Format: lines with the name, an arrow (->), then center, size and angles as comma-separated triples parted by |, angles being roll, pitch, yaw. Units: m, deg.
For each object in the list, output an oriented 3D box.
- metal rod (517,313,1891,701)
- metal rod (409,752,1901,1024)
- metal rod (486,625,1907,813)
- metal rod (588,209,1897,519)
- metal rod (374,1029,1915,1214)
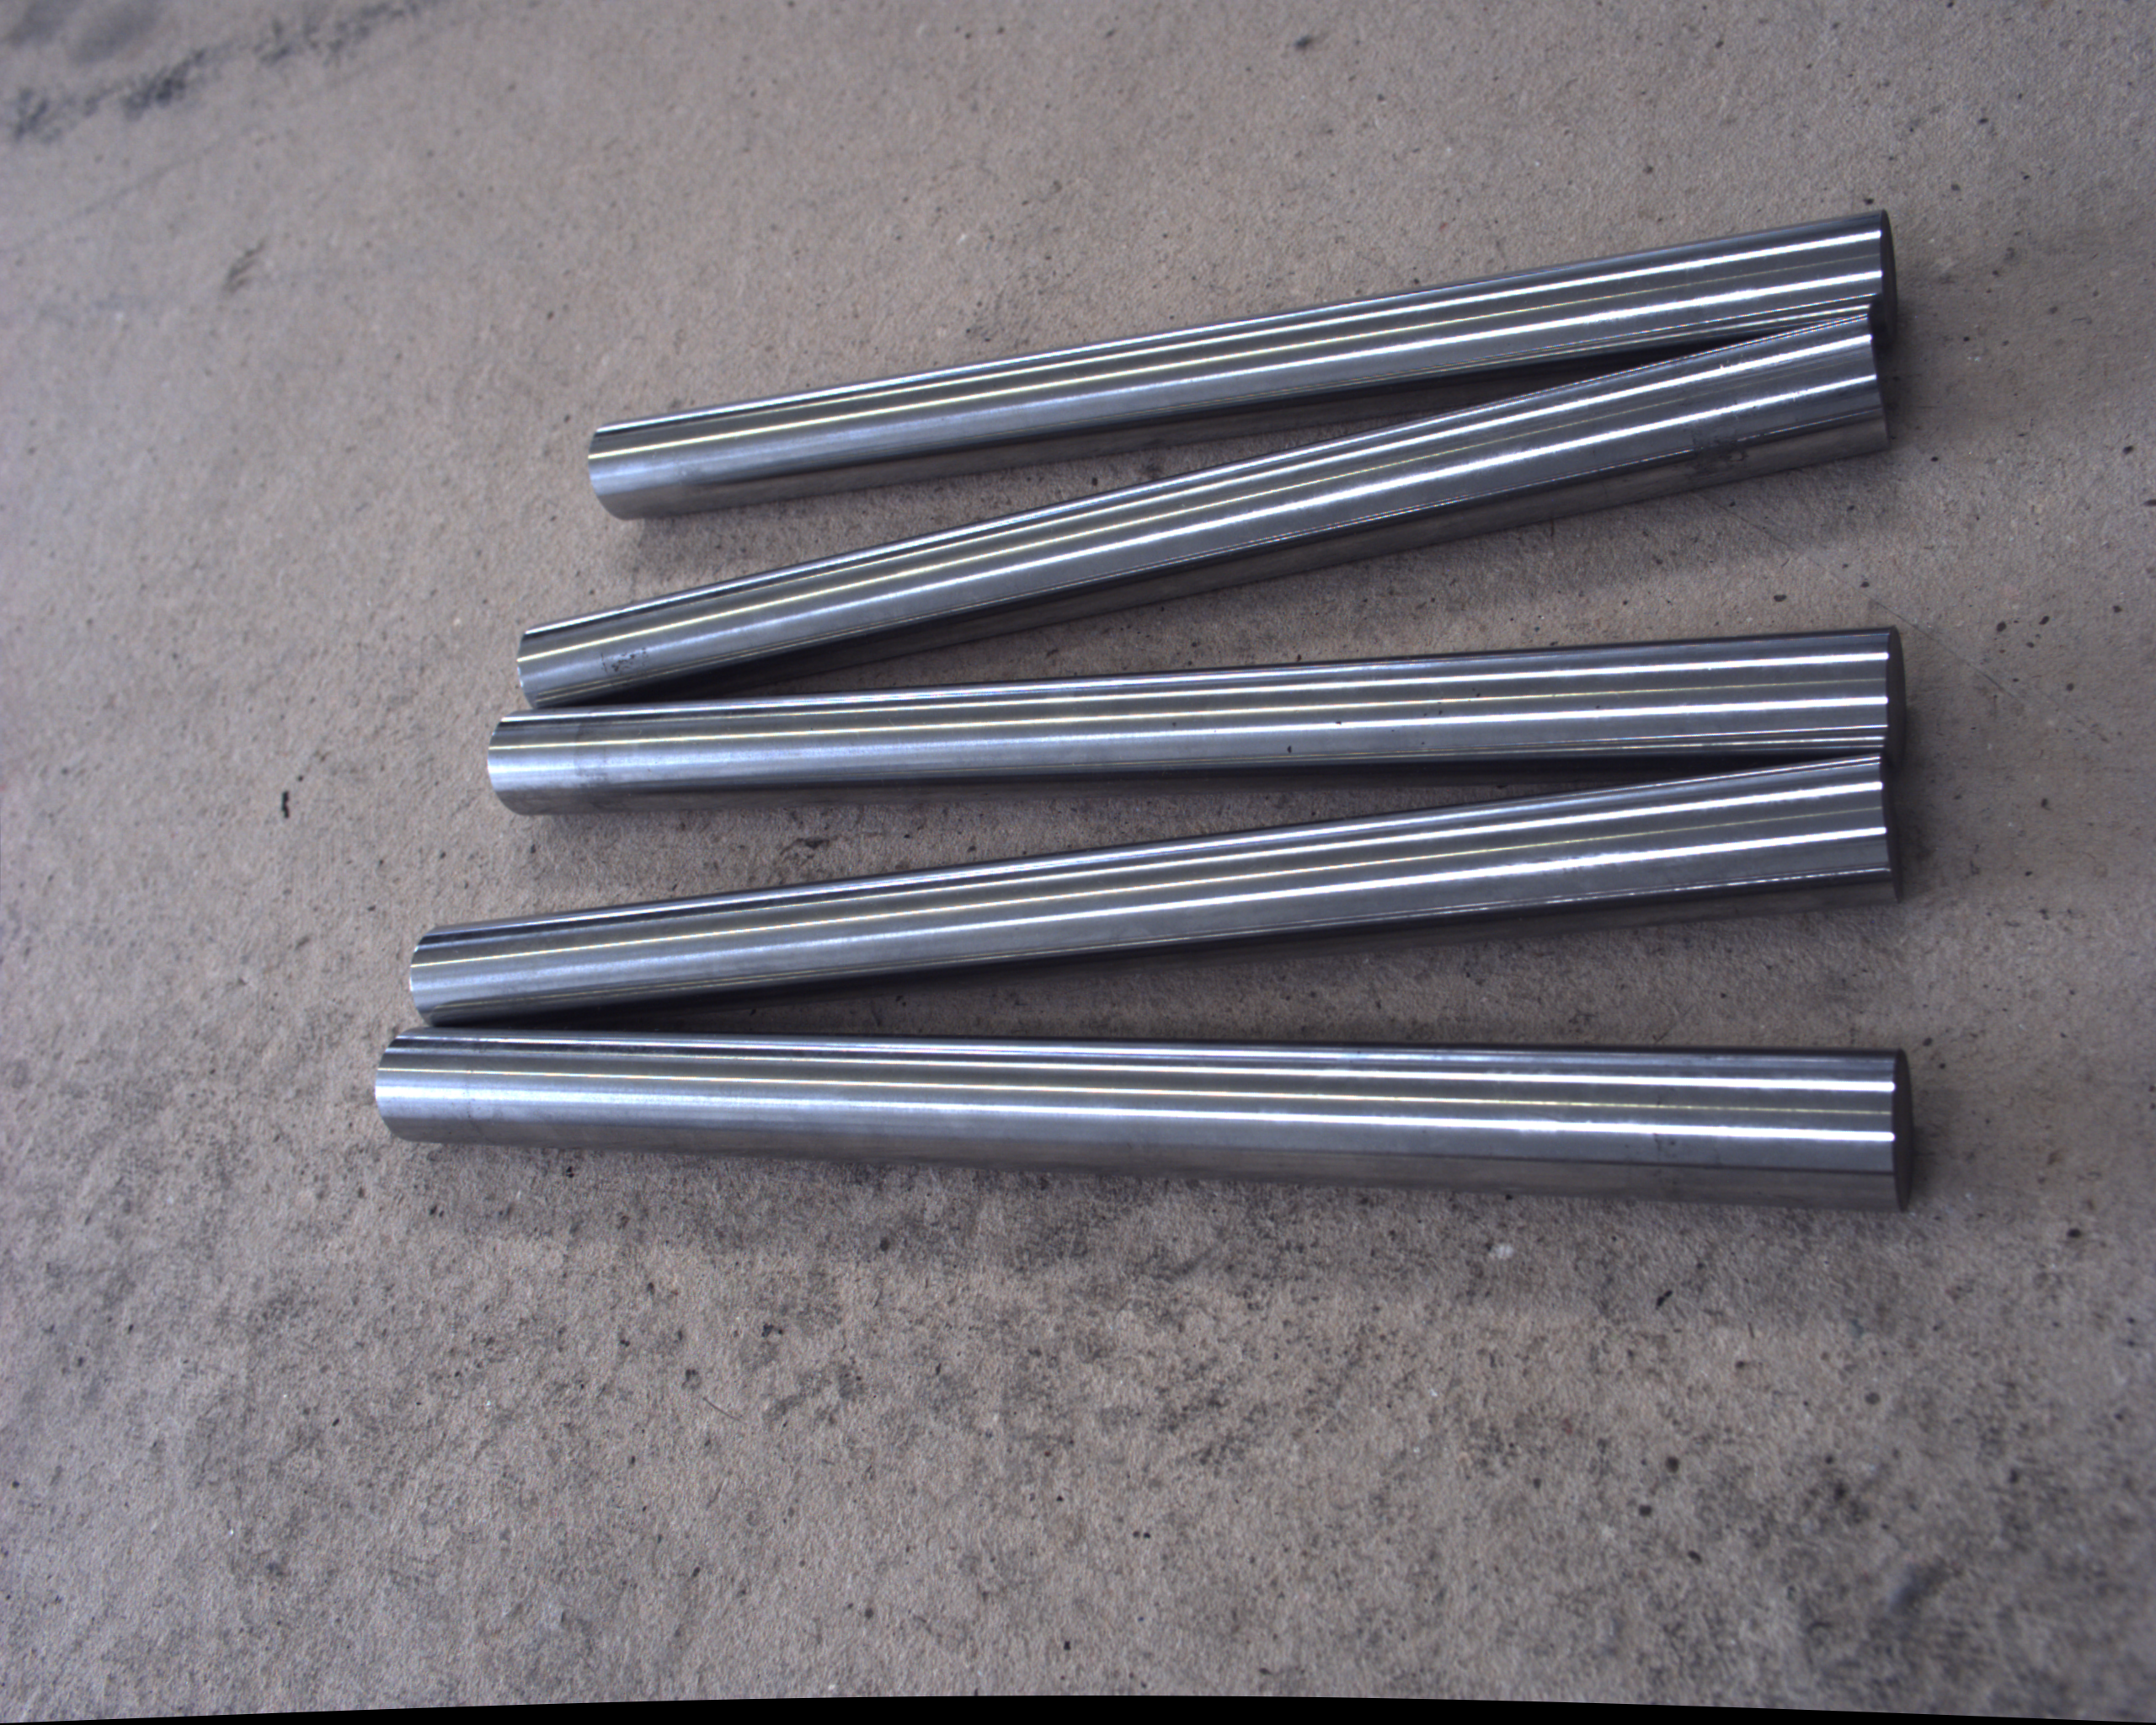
metal rod -> 0.010, -0.067, 0.441 | 0.300, 0.025, 0.025 | -9, 58, 23
metal rod -> -0.003, 0.010, 0.401 | 0.300, 0.025, 0.025 | -7, 59, 24
metal rod -> 0.004, -0.025, 0.419 | 0.300, 0.025, 0.025 | -1, 61, 27
metal rod -> 0.019, -0.105, 0.460 | 0.300, 0.025, 0.025 | -2, 61, 27
metal rod -> -0.009, 0.044, 0.383 | 0.300, 0.025, 0.025 | -2, 61, 27
